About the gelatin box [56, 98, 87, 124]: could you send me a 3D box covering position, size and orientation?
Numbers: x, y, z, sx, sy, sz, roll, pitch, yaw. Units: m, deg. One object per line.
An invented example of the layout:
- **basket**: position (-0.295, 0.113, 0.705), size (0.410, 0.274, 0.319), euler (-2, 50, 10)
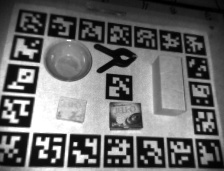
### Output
- **gelatin box**: position (-0.133, 0.085, 0.720), size (0.090, 0.030, 0.073), euler (11, 71, -9)

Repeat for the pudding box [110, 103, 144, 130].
- **pudding box**: position (0.050, 0.108, 0.752), size (0.114, 0.038, 0.090), euler (3, 75, -9)

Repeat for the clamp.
- **clamp**: position (0.001, -0.105, 0.821), size (0.166, 0.036, 0.121), euler (-6, 73, -17)

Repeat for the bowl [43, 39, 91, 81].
- **bowl**: position (-0.156, -0.079, 0.766), size (0.162, 0.055, 0.161), euler (4, 74, -12)

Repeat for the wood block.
- **wood block**: position (0.212, 0.000, 0.796), size (0.090, 0.091, 0.205), euler (7, 71, -11)
